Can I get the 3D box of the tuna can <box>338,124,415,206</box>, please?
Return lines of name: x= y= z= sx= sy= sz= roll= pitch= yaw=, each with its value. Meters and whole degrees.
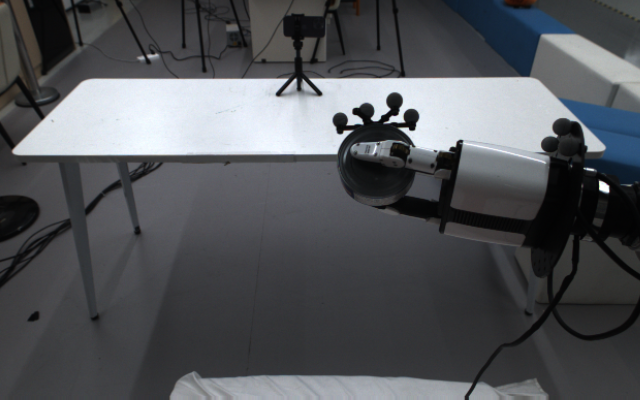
tuna can: x=0.063 y=-0.039 z=0.527 sx=0.085 sy=0.034 sz=0.085 roll=-3 pitch=67 yaw=6
